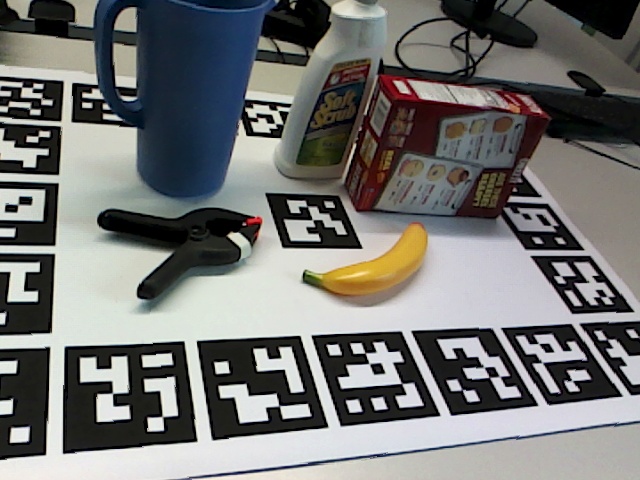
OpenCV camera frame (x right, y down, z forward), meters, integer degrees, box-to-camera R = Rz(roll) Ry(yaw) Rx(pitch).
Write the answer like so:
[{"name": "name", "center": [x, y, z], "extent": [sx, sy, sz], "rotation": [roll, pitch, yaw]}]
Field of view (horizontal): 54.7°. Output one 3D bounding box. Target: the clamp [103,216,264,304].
[{"name": "clamp", "center": [-0.132, 0.008, 0.664], "extent": [0.164, 0.036, 0.122], "rotation": [-12, 44, -35]}]

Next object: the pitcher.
[{"name": "pitcher", "center": [-0.151, -0.172, 0.679], "extent": [0.188, 0.242, 0.134], "rotation": [-13, 46, -37]}]

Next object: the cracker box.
[{"name": "cracker box", "center": [0.165, -0.116, 0.807], "extent": [0.213, 0.164, 0.072], "rotation": [0, 38, -19]}]

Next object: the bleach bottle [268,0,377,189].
[{"name": "bleach bottle", "center": [0.006, -0.185, 0.787], "extent": [0.102, 0.250, 0.068], "rotation": [-1, 40, -21]}]

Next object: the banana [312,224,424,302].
[{"name": "banana", "center": [0.077, 0.028, 0.731], "extent": [0.074, 0.039, 0.196], "rotation": [35, 41, 22]}]
